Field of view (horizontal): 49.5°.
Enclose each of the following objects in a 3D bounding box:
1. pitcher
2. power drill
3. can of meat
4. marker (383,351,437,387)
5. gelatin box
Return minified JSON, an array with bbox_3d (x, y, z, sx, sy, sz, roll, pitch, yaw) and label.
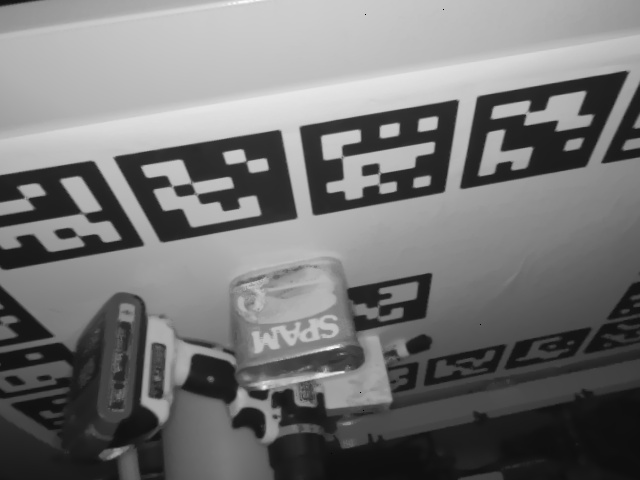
[{"bbox_3d":[-0.109,0.240,0.665,0.191,0.243,0.131,6,137,-32],"label":"pitcher"},{"bbox_3d":[-0.074,0.153,0.599,0.189,0.185,0.056,18,132,-25],"label":"power drill"},{"bbox_3d":[-0.020,0.067,0.579,0.102,0.084,0.057,-10,145,-1],"label":"can of meat"},{"bbox_3d":[0.076,0.154,0.776,0.120,0.020,0.020,-27,140,18],"label":"marker"},{"bbox_3d":[0.021,0.150,0.716,0.090,0.073,0.030,-2,138,-10],"label":"gelatin box"}]
